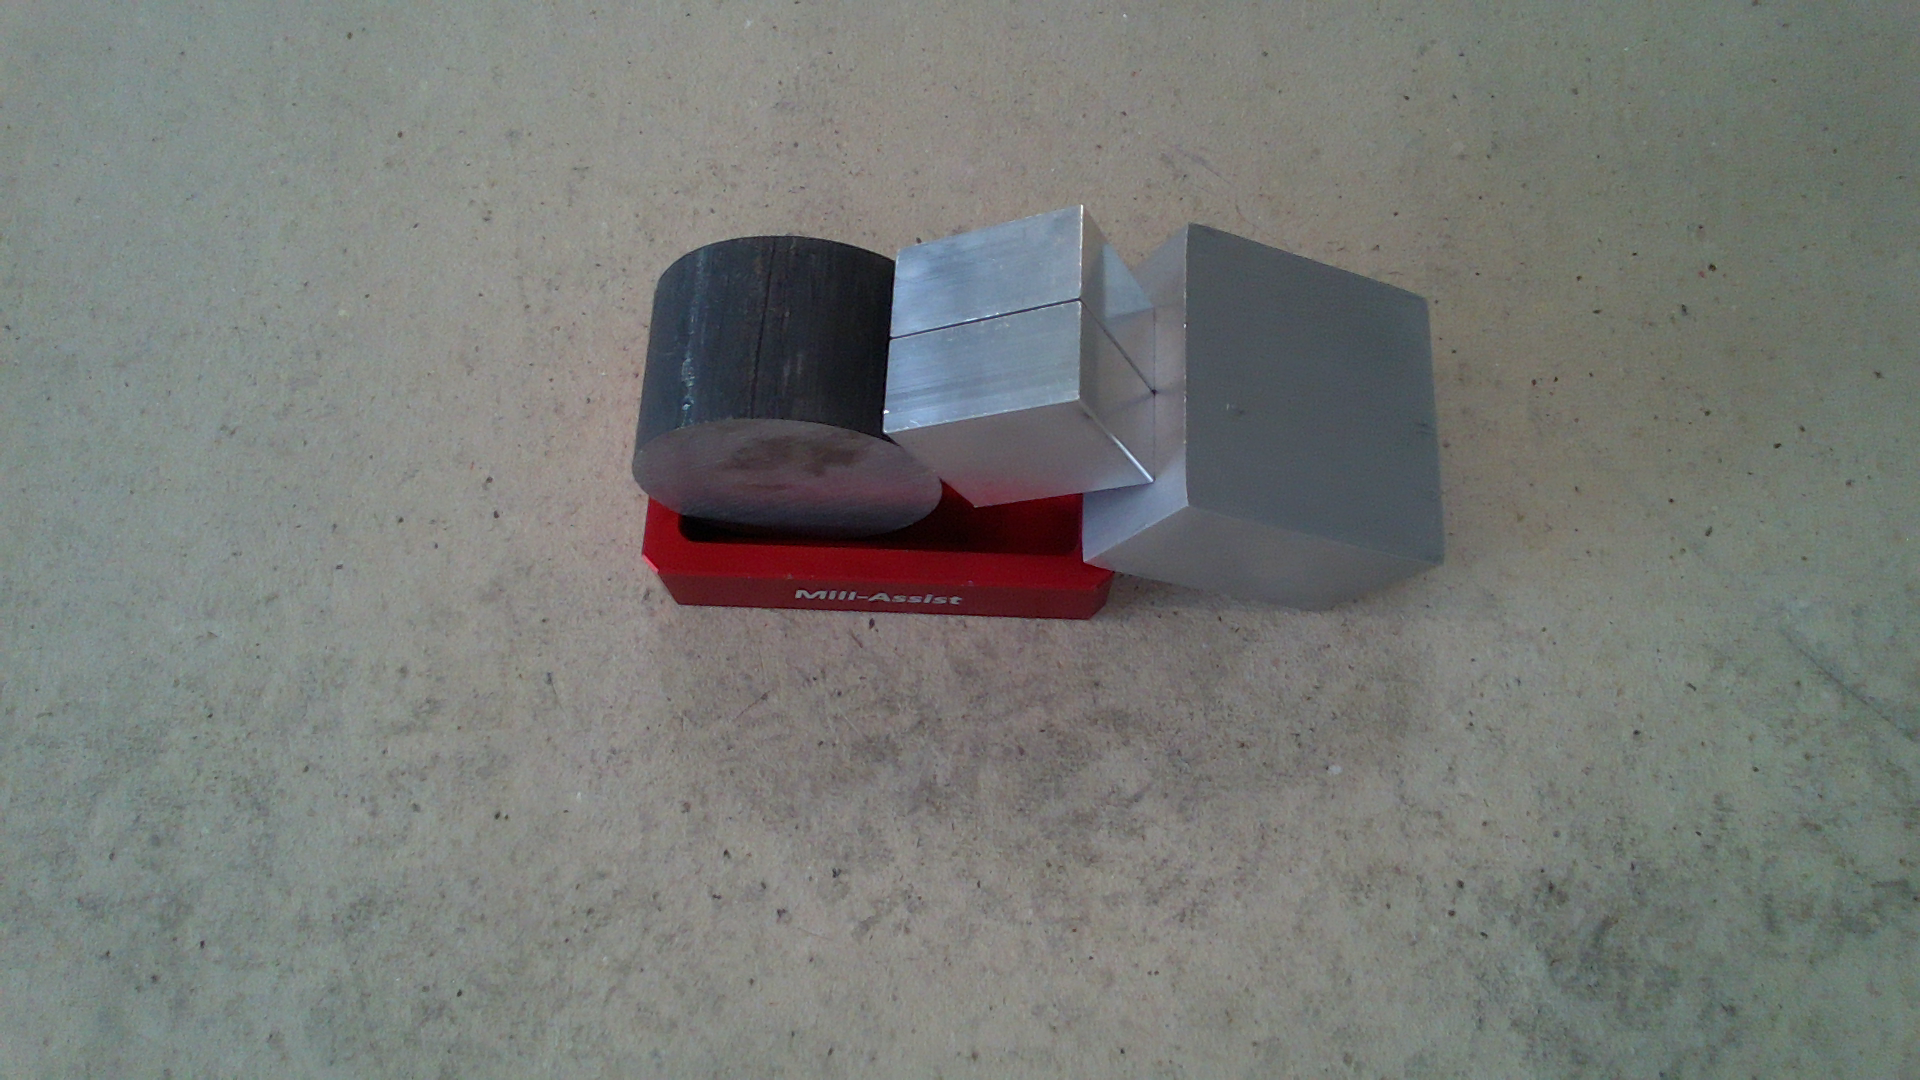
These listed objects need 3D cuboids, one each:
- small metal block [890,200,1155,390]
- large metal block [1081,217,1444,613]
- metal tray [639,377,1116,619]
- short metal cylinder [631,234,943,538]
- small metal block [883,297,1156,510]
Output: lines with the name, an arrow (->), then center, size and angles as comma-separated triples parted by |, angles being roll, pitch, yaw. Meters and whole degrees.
small metal block -> 0.017, -0.055, 0.346 | 0.050, 0.050, 0.025 | -8, 66, 25
large metal block -> 0.082, -0.031, 0.377 | 0.080, 0.050, 0.080 | 12, 68, -23
metal tray -> -0.021, -0.026, 0.401 | 0.130, 0.030, 0.090 | 2, 70, 1
short metal cylinder -> -0.044, -0.038, 0.365 | 0.080, 0.080, 0.050 | 1, 70, 0
small metal block -> 0.016, -0.031, 0.336 | 0.050, 0.050, 0.025 | -8, 66, 25
